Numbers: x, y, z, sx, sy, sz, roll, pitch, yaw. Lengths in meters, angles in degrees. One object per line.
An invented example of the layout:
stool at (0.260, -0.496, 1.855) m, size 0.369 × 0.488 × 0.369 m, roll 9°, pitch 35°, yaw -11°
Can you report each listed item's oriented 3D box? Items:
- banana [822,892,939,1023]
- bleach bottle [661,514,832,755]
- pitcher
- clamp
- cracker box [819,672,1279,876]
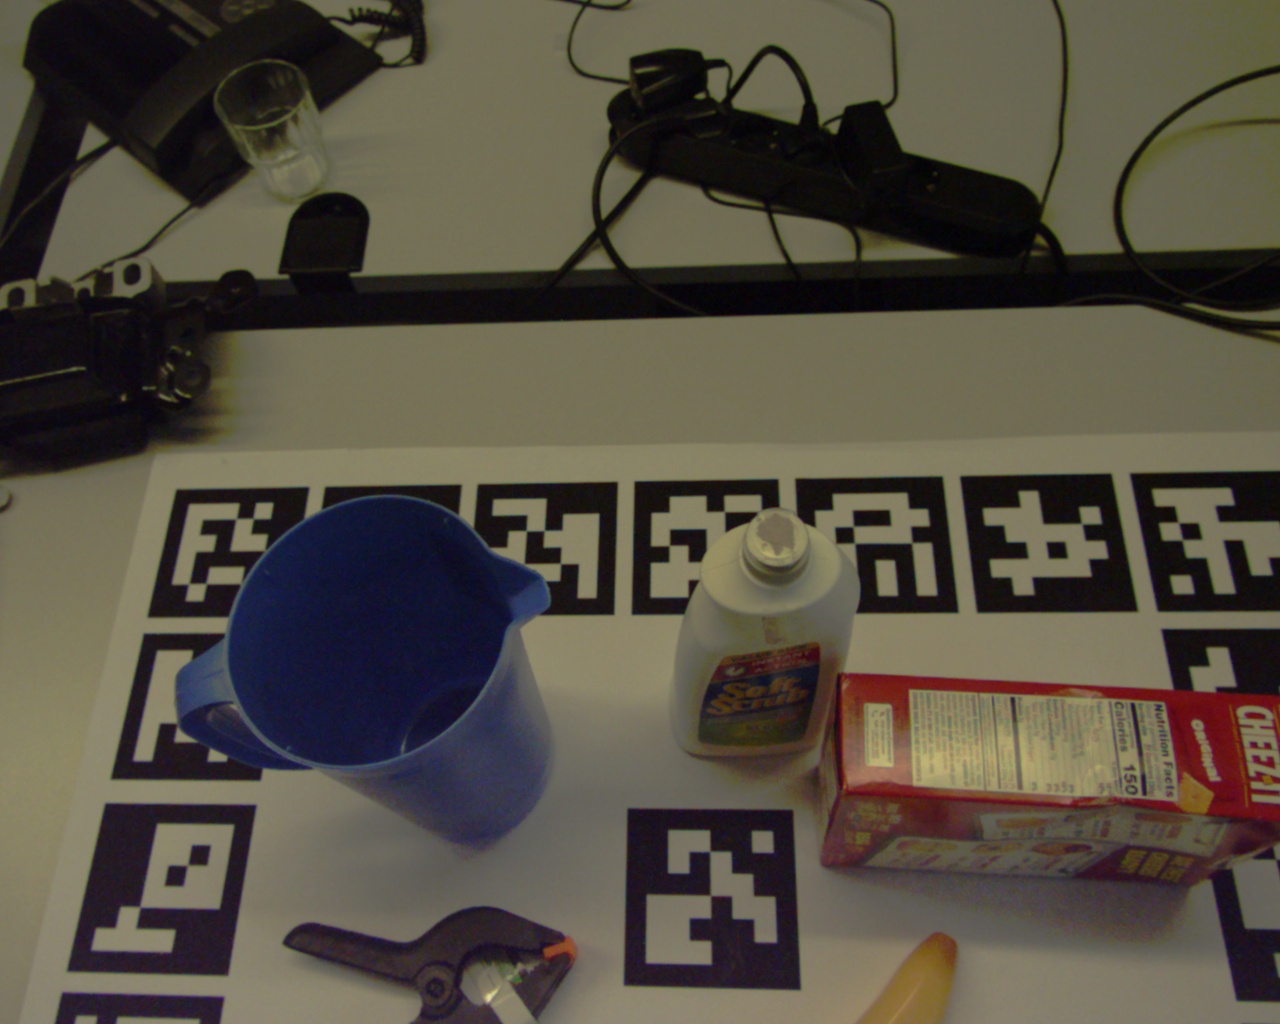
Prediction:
banana at (0.107, 0.298, 0.665) m, size 0.196 × 0.038 × 0.075 m, roll -32°, pitch 63°, yaw -11°
bleach bottle at (0.056, 0.073, 0.665) m, size 0.103 × 0.249 × 0.068 m, roll -2°, pitch 61°, yaw 4°
pitcher at (-0.132, 0.105, 0.645) m, size 0.188 × 0.241 × 0.134 m, roll -17°, pitch 61°, yaw -7°
clamp at (-0.113, 0.280, 0.690) m, size 0.165 × 0.036 × 0.123 m, roll -16°, pitch 60°, yaw -5°
cracker box at (0.212, 0.148, 0.639) m, size 0.214 × 0.163 × 0.072 m, roll -1°, pitch 59°, yaw 7°
